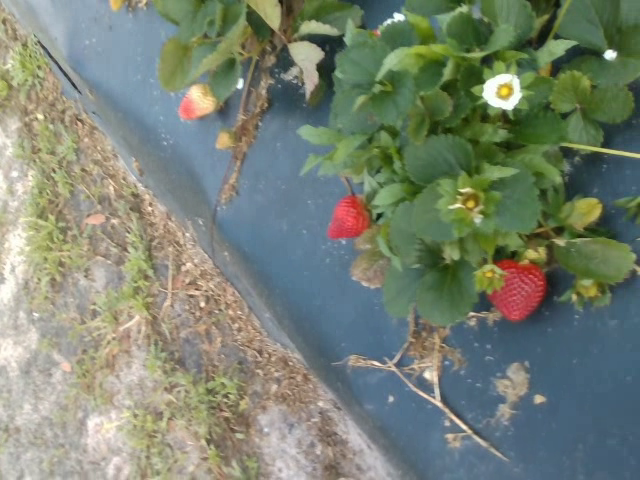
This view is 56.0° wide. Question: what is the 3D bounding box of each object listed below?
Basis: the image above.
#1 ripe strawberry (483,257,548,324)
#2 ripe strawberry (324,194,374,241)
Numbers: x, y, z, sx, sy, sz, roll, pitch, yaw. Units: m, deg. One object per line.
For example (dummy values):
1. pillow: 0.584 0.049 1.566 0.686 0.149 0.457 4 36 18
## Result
1. ripe strawberry: 0.140 0.039 0.434 0.046 0.046 0.043 16 -33 -24
2. ripe strawberry: 0.026 -0.019 0.534 0.051 0.043 0.042 -45 -27 21
